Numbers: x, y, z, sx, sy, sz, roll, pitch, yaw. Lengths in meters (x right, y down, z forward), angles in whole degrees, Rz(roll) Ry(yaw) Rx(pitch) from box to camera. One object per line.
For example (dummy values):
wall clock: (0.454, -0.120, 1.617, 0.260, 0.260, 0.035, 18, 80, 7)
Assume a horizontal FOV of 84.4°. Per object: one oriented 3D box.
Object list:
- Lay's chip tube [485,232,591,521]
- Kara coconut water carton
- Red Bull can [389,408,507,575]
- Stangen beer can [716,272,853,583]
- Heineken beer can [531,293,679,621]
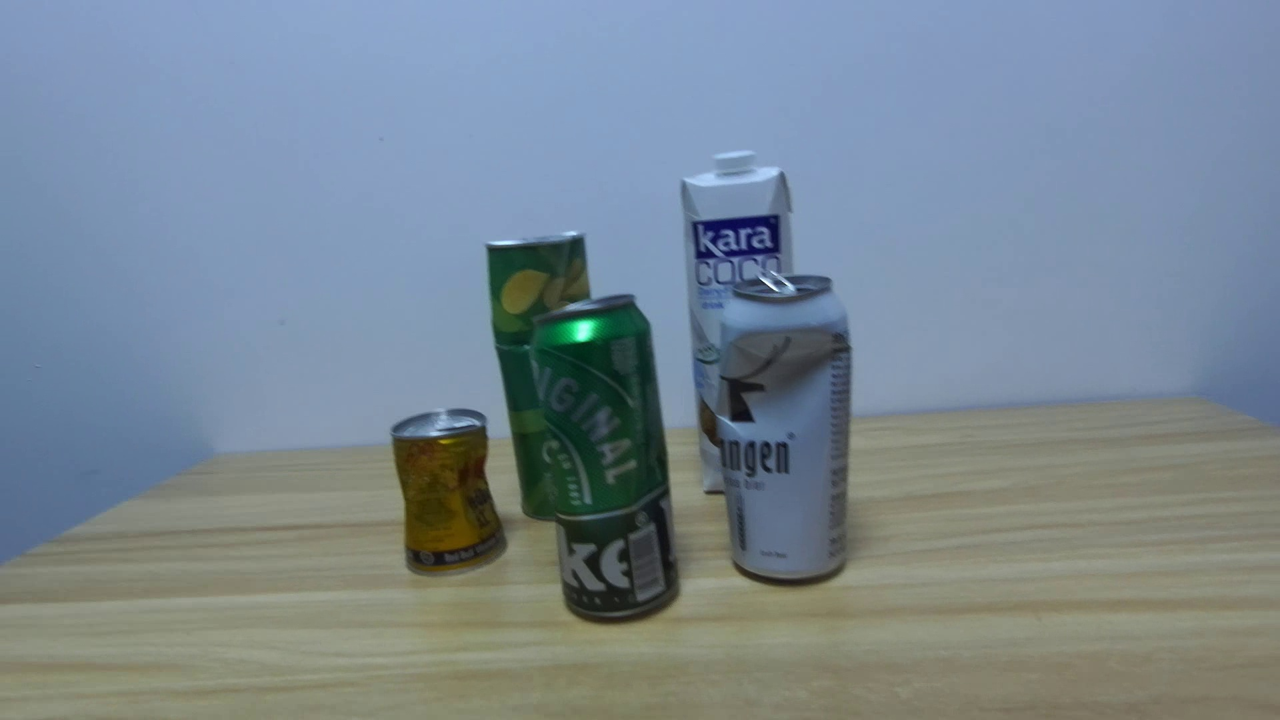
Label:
Lay's chip tube: (-0.063, 0.013, 0.513, 0.069, 0.199, 0.075, -6, 10, -3)
Kara coconut water carton: (0.076, -0.026, 0.520, 0.077, 0.245, 0.075, -2, 11, 12)
Red Bull can: (-0.124, 0.084, 0.457, 0.072, 0.092, 0.072, -4, 10, 1)
Stangen beer can: (0.081, 0.038, 0.396, 0.070, 0.173, 0.070, -12, 14, -30)
Heineken beer can: (-0.019, 0.053, 0.383, 0.068, 0.168, 0.069, -11, 9, -20)
